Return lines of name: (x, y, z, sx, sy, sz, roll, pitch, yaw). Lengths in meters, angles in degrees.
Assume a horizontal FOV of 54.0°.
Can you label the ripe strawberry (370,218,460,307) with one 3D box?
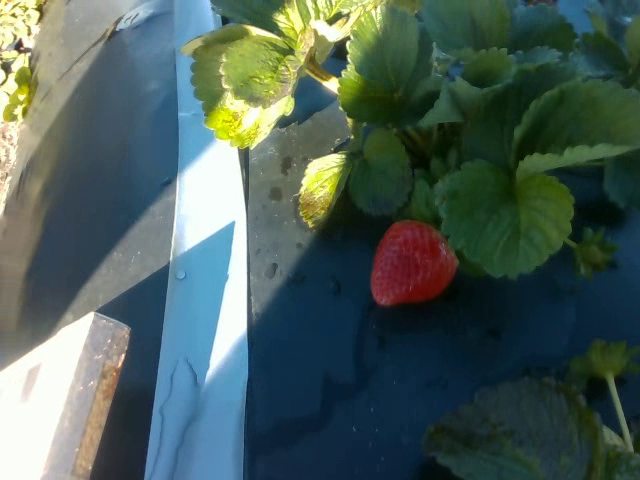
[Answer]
ripe strawberry: (0.042, 0.014, 0.302, 0.059, 0.042, 0.045, -50, 28, -23)
